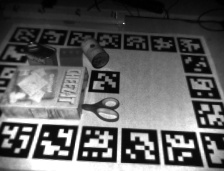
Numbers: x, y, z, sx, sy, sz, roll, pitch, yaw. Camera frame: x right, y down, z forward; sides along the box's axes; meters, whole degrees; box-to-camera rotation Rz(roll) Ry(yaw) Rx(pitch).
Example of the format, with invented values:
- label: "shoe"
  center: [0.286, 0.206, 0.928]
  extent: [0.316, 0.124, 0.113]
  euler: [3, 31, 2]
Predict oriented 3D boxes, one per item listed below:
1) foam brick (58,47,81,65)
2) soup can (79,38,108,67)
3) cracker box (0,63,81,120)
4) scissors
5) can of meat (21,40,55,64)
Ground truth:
- label: "foam brick"
  center: [-0.153, -0.105, 0.772]
  extent: [0.078, 0.051, 0.052]
  euler: [-5, 53, -7]
- label: "soup can"
  center: [-0.070, -0.122, 0.789]
  extent: [0.068, 0.068, 0.101]
  euler: [-28, 53, -22]
- label: "cracker box"
  center: [-0.206, 0.011, 0.645]
  extent: [0.213, 0.072, 0.163]
  euler: [-3, 51, 0]
- label: "scissors"
  center: [-0.094, 0.065, 0.649]
  extent: [0.203, 0.016, 0.087]
  euler: [0, 53, -3]
- label: "can of meat"
  center: [-0.250, -0.098, 0.736]
  extent: [0.101, 0.084, 0.058]
  euler: [15, 53, 8]
